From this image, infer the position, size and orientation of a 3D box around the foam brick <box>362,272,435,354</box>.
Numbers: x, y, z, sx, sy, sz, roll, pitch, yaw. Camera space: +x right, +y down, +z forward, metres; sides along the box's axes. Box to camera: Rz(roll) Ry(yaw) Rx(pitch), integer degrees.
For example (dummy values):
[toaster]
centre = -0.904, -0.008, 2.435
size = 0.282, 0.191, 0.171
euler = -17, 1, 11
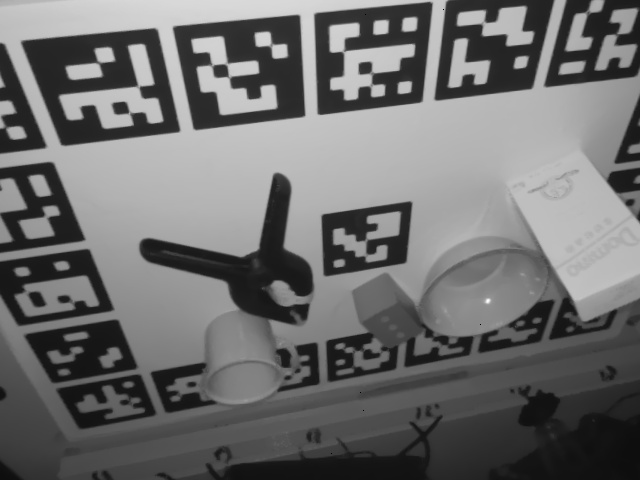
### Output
[foam brick]
centre = 0.094, 0.087, 0.828
size = 0.052, 0.051, 0.078
euler = -30, 129, 11

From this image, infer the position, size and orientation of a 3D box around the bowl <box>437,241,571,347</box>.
[bowl]
centre = 0.209, 0.054, 0.819
size = 0.162, 0.055, 0.160
euler = -7, 131, -7

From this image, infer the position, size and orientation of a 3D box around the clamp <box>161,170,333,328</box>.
[clamp]
centre = -0.045, 0.034, 0.740
size = 0.165, 0.037, 0.203
euler = -28, 130, 7

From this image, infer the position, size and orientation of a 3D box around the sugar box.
[sugar box]
centre = 0.286, -0.017, 0.697
size = 0.092, 0.177, 0.045
euler = -26, 129, 11

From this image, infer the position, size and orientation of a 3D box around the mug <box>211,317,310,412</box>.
[mug]
centre = -0.068, 0.146, 0.805
size = 0.118, 0.082, 0.092
euler = 14, 125, -20
